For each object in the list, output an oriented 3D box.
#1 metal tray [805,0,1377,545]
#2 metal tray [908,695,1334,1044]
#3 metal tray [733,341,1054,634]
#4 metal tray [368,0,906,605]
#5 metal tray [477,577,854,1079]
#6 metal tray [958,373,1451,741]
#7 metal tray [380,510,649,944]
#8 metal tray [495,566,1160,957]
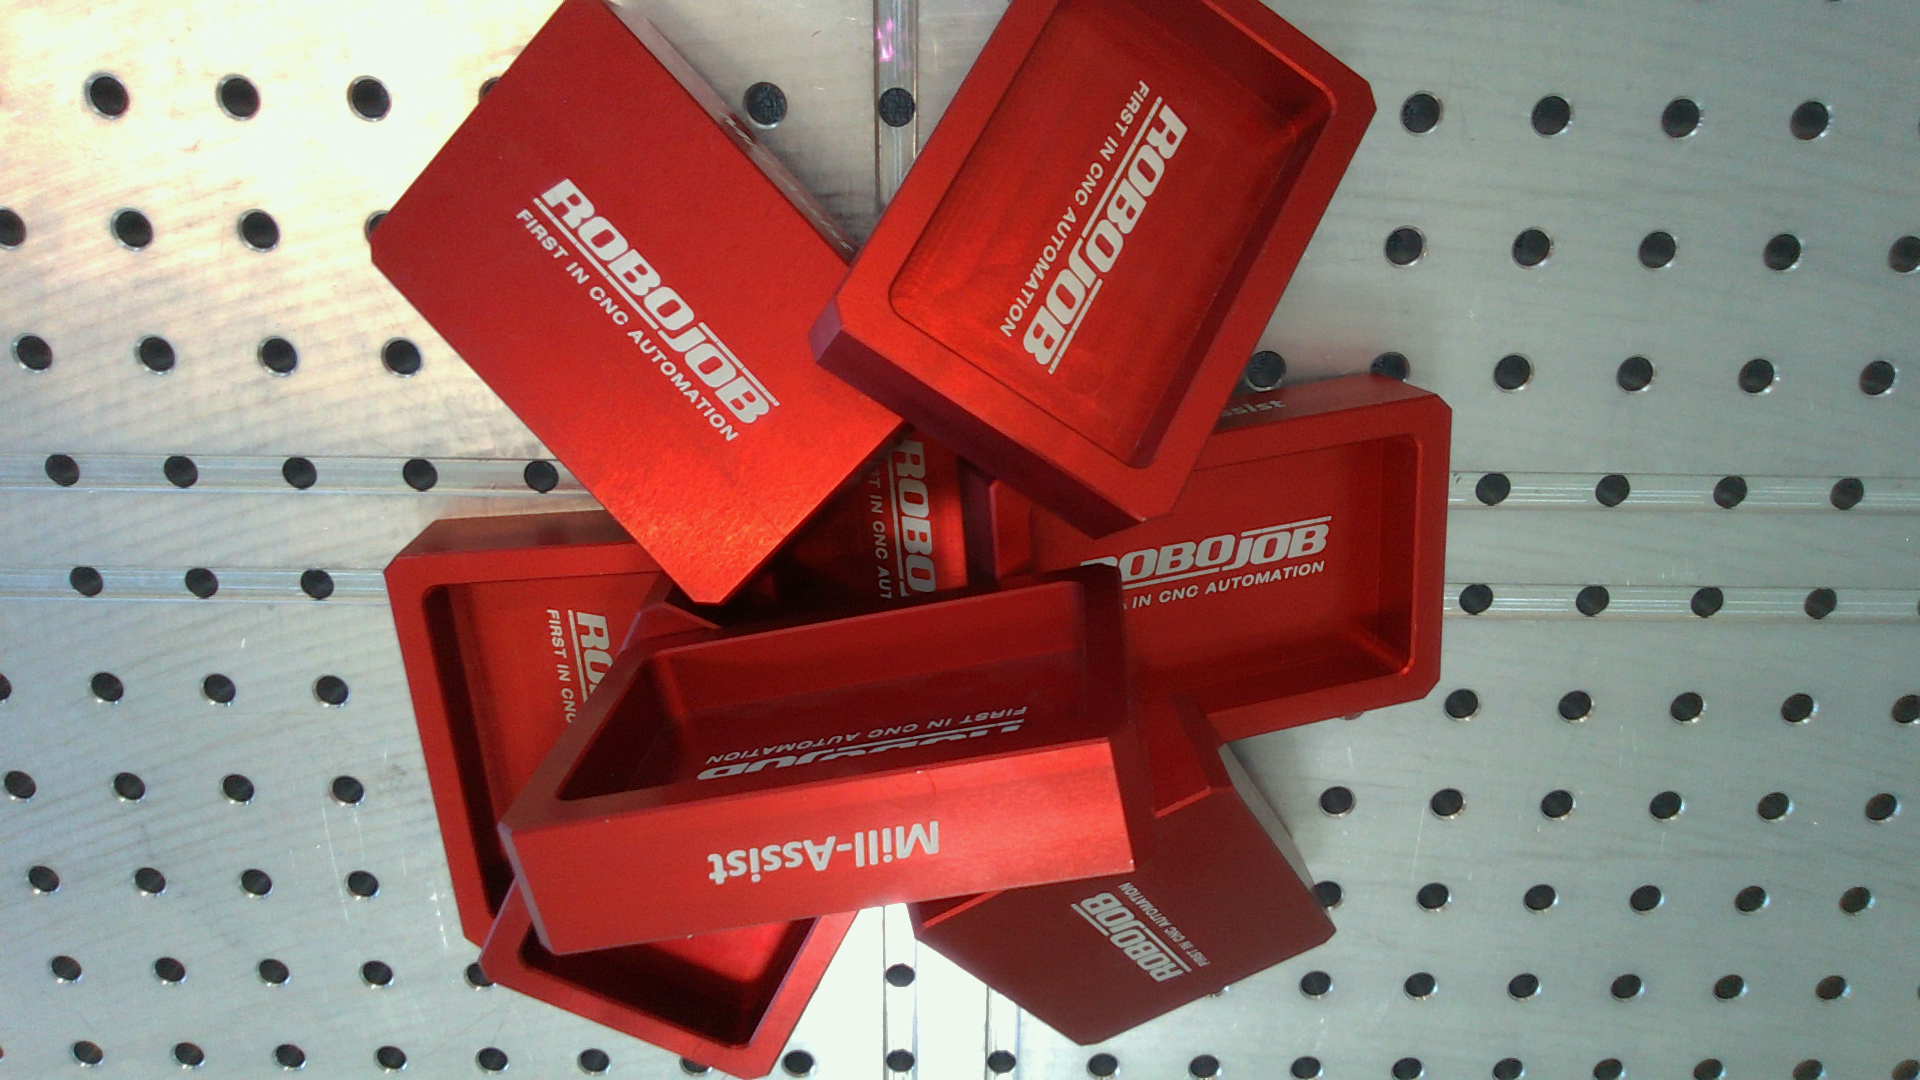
[{"bbox_3d":[0.034,-0.076,0.330,0.090,0.030,0.130,32,74,-11],"label":"metal tray"},{"bbox_3d":[0.049,0.100,0.395,0.090,0.030,0.130,-28,141,10],"label":"metal tray"},{"bbox_3d":[-0.016,0.007,0.396,0.090,0.030,0.130,-5,108,0],"label":"metal tray"},{"bbox_3d":[-0.076,-0.060,0.353,0.090,0.030,0.130,-43,89,14],"label":"metal tray"},{"bbox_3d":[-0.070,0.083,0.391,0.090,0.030,0.130,25,108,-9],"label":"metal tray"},{"bbox_3d":[0.068,0.009,0.378,0.130,0.030,0.090,-10,111,-15],"label":"metal tray"},{"bbox_3d":[-0.112,0.057,0.414,0.090,0.030,0.130,-4,109,1],"label":"metal tray"},{"bbox_3d":[-0.024,0.046,0.310,0.130,0.090,0.030,-10,110,8],"label":"metal tray"}]
